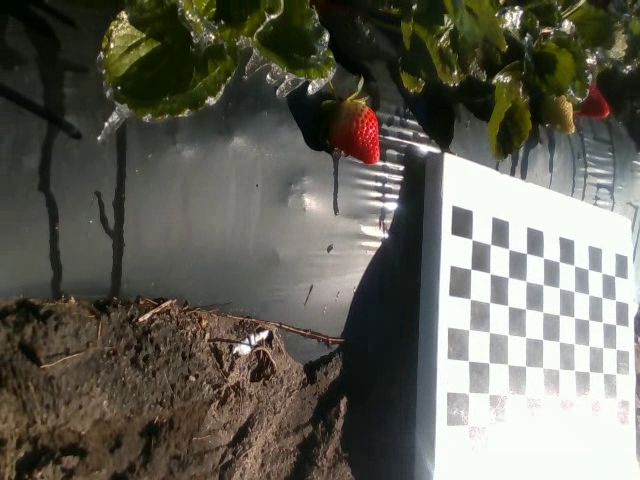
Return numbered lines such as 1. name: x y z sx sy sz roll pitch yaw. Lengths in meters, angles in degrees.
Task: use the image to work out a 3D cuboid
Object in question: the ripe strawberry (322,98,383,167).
1. ripe strawberry: 0.027 -0.072 0.421 0.039 0.053 0.040 -15 -14 -37
